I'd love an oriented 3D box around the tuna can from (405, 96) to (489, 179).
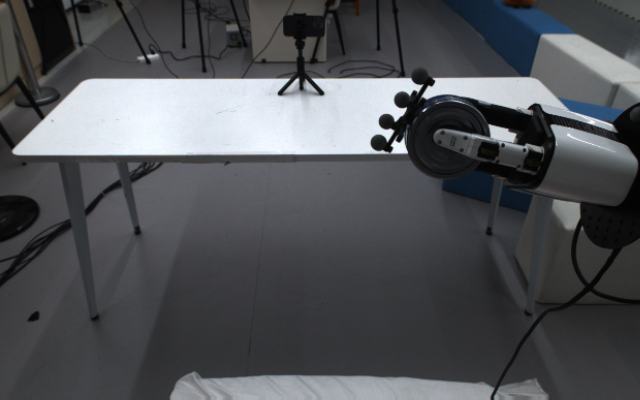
[{"bbox_3d":[0.136,-0.070,0.515,0.085,0.085,0.034,3,20,1],"label":"tuna can"}]
